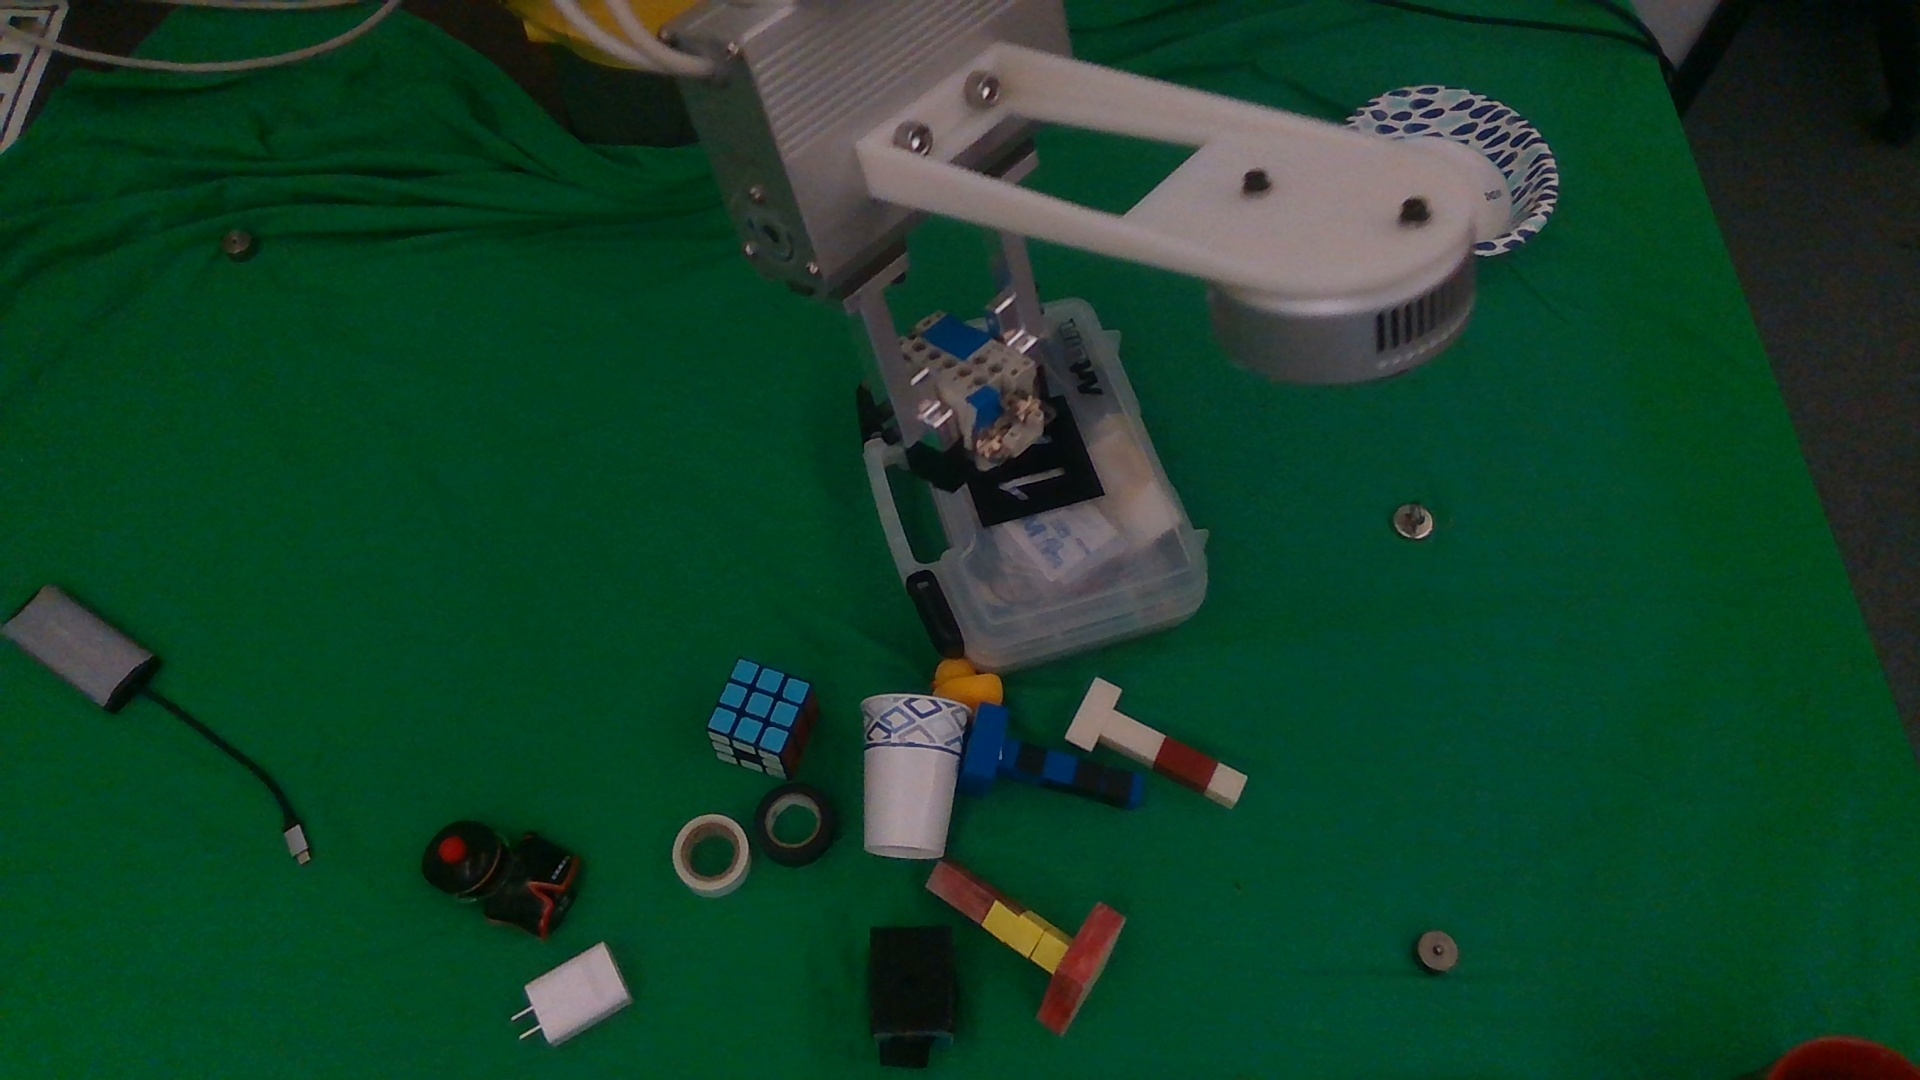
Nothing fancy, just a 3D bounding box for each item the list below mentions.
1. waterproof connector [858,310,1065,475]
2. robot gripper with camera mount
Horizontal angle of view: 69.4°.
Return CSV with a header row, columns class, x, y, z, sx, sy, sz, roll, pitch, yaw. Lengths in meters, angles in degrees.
class,x,y,z,sx,sy,sz,roll,pitch,yaw
waterproof connector,0.000,-0.047,0.461,0.065,0.037,0.035,30,56,26
robot gripper with camera mount,0.048,-0.066,0.378,0.194,0.158,0.119,24,57,35
